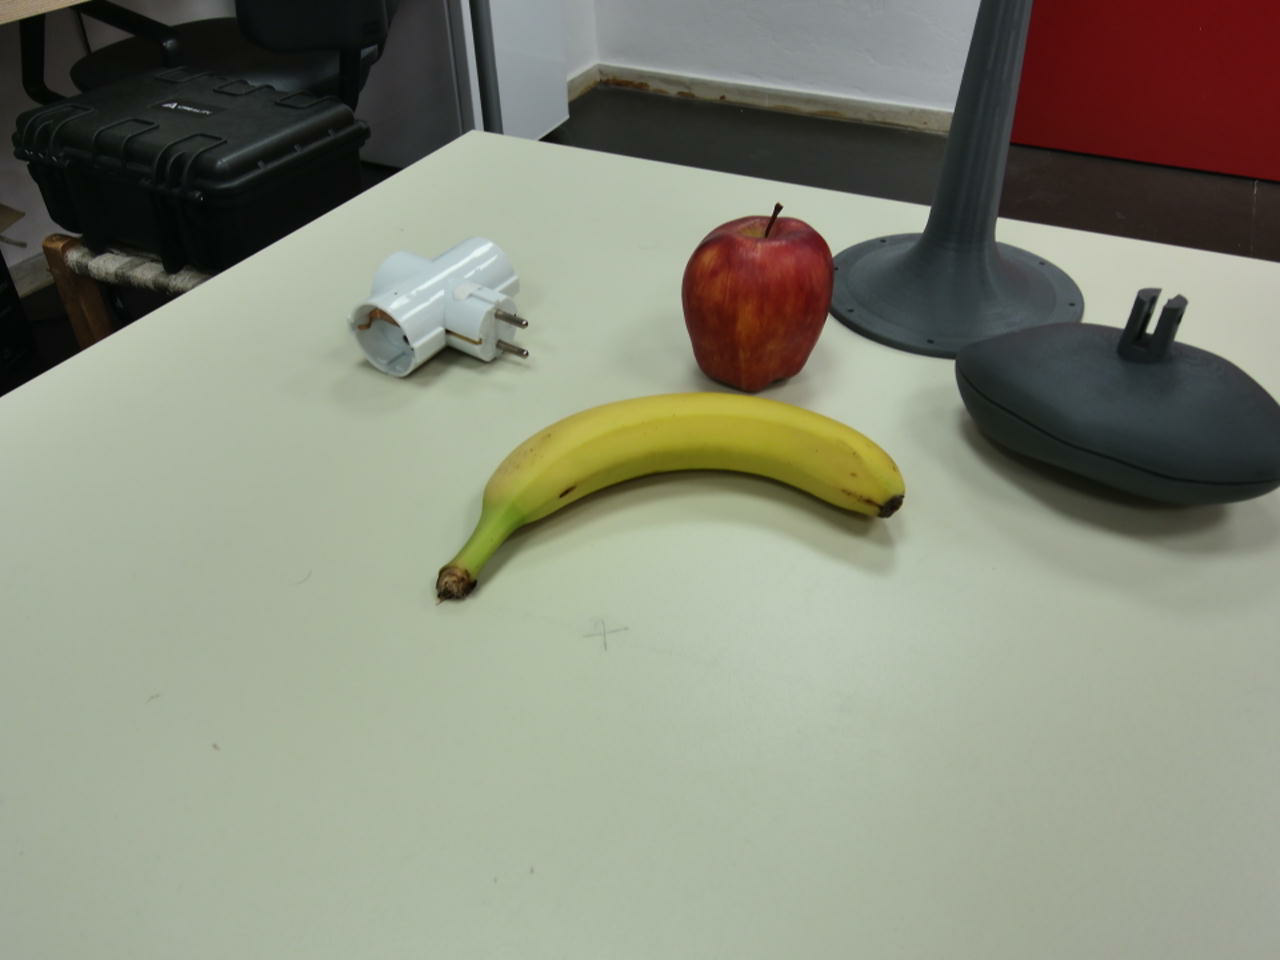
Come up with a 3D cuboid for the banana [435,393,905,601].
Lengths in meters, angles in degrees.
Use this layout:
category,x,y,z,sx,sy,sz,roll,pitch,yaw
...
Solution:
category,x,y,z,sx,sy,sz,roll,pitch,yaw
banana,0.008,-0.003,0.437,0.196,0.041,0.094,-6,37,-7
